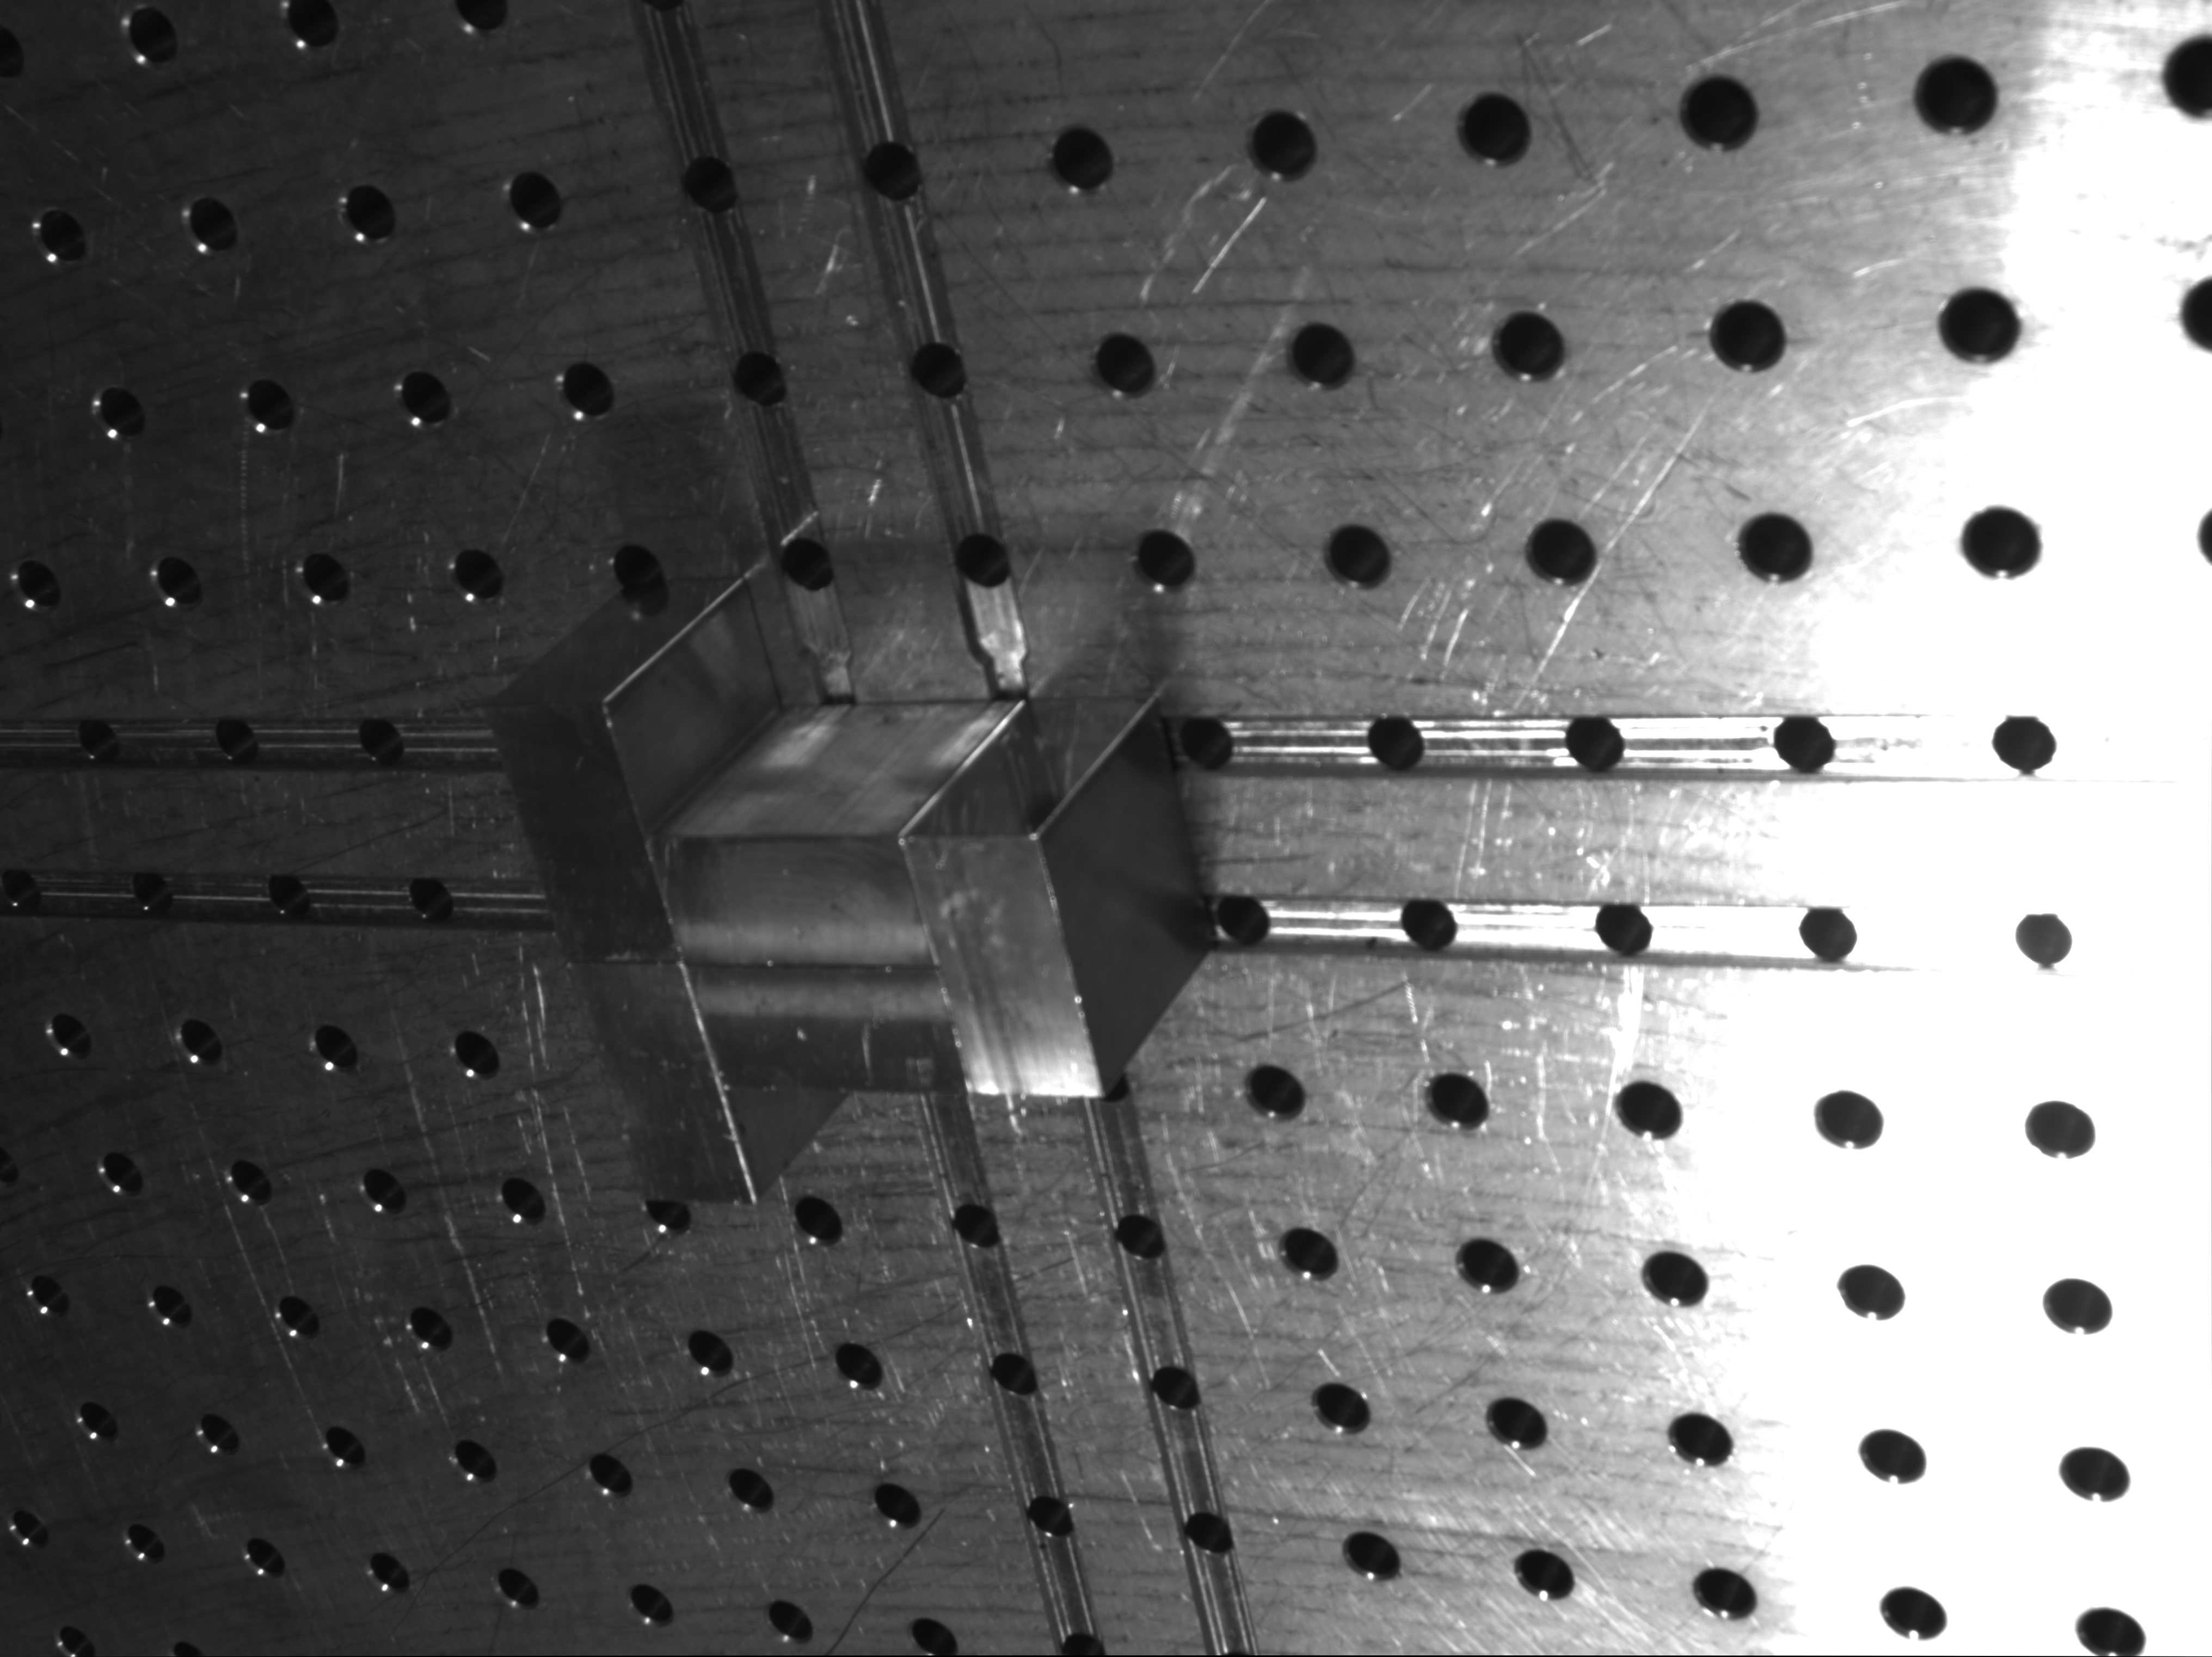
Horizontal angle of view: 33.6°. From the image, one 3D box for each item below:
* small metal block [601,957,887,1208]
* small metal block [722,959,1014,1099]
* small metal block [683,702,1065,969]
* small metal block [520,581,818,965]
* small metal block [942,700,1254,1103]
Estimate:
[{"bbox_3d":[-0.062,0.034,0.669,0.025,0.050,0.050,0,118,27],"label":"small metal block"},{"bbox_3d":[-0.031,0.023,0.647,0.050,0.050,0.025,0,118,27],"label":"small metal block"},{"bbox_3d":[-0.037,0.001,0.636,0.050,0.050,0.025,0,118,27],"label":"small metal block"},{"bbox_3d":[-0.073,-0.010,0.648,0.025,0.050,0.050,0,118,27],"label":"small metal block"},{"bbox_3d":[0.000,0.012,0.625,0.025,0.050,0.050,0,118,27],"label":"small metal block"}]
